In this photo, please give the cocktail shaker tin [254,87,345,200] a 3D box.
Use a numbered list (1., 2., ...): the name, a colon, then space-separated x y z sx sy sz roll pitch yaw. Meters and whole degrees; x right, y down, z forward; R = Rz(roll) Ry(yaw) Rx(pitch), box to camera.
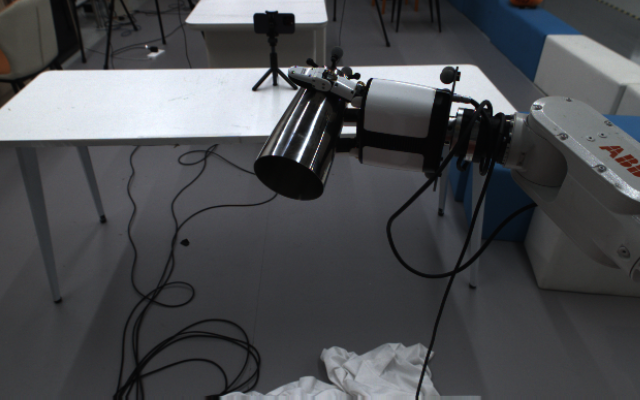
1. cocktail shaker tin: -0.013 -0.097 0.637 0.093 0.093 0.170 13 59 16
